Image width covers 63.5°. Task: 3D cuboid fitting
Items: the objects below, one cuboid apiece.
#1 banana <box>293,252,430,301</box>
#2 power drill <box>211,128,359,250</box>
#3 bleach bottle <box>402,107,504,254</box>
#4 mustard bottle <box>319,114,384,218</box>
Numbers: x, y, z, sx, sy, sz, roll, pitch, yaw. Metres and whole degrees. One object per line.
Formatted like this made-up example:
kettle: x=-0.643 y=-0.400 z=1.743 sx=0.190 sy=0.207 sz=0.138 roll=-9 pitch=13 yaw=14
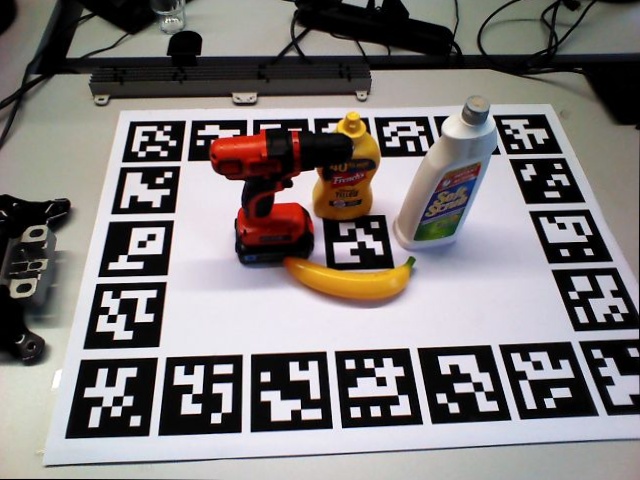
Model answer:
banana: x=0.060 y=0.050 z=0.734 sx=0.198 sy=0.039 sz=0.074 roll=0 pitch=60 yaw=0
power drill: x=-0.047 y=-0.068 z=0.697 sx=0.184 sy=0.188 sz=0.057 roll=-2 pitch=49 yaw=-7
bleach bottle: x=0.184 y=-0.076 z=0.708 sx=0.102 sy=0.252 sz=0.067 roll=-8 pitch=58 yaw=-8
mustard bottle: x=0.051 y=-0.109 z=0.752 sx=0.096 sy=0.192 sz=0.058 roll=0 pitch=56 yaw=-4
